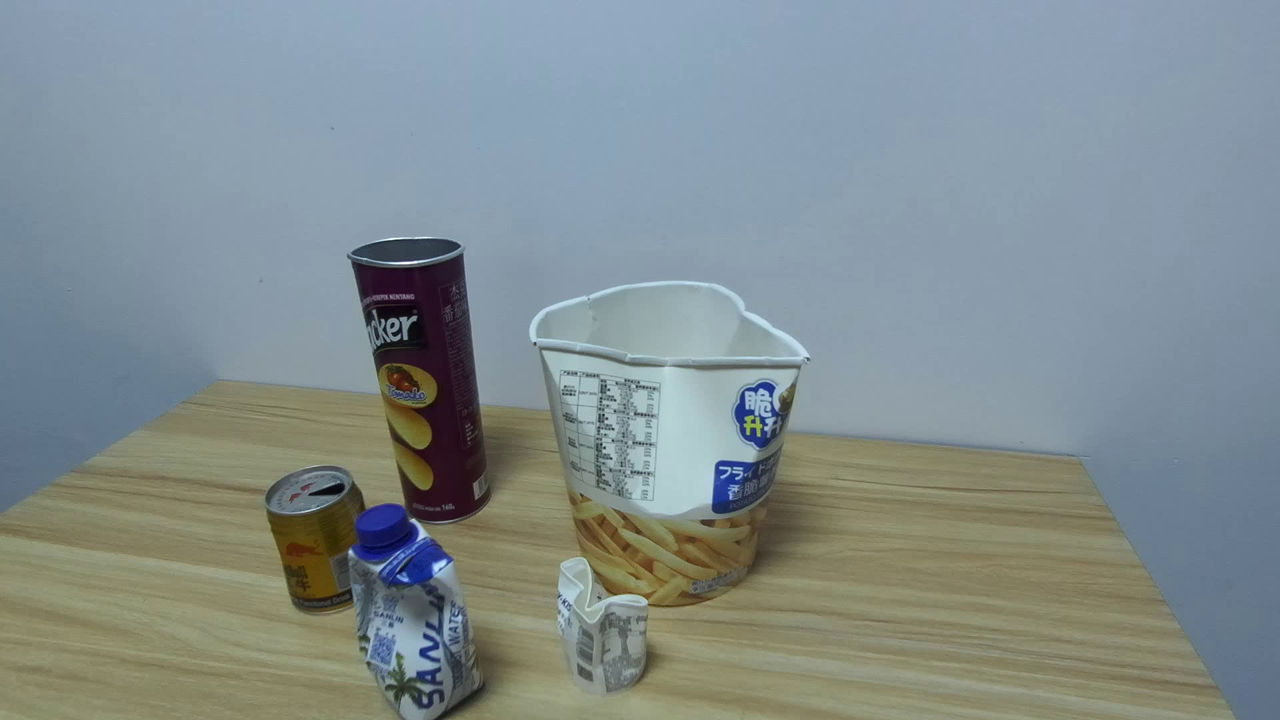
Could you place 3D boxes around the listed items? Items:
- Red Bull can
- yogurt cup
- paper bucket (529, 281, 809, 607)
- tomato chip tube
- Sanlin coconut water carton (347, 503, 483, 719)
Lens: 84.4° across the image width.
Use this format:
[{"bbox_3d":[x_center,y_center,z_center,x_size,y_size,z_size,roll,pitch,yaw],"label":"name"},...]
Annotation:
[{"bbox_3d":[-0.235,0.133,0.524,0.068,0.093,0.068,-1,26,1],"label":"Red Bull can"},{"bbox_3d":[-0.025,0.172,0.458,0.055,0.072,0.054,-13,29,-14],"label":"yogurt cup"},{"bbox_3d":[0.011,0.063,0.537,0.163,0.202,0.168,-10,25,-15],"label":"paper bucket"},{"bbox_3d":[-0.176,0.021,0.593,0.077,0.234,0.080,-23,33,-37],"label":"tomato chip tube"},{"bbox_3d":[-0.136,0.155,0.419,0.068,0.145,0.057,29,46,35],"label":"Sanlin coconut water carton"}]
